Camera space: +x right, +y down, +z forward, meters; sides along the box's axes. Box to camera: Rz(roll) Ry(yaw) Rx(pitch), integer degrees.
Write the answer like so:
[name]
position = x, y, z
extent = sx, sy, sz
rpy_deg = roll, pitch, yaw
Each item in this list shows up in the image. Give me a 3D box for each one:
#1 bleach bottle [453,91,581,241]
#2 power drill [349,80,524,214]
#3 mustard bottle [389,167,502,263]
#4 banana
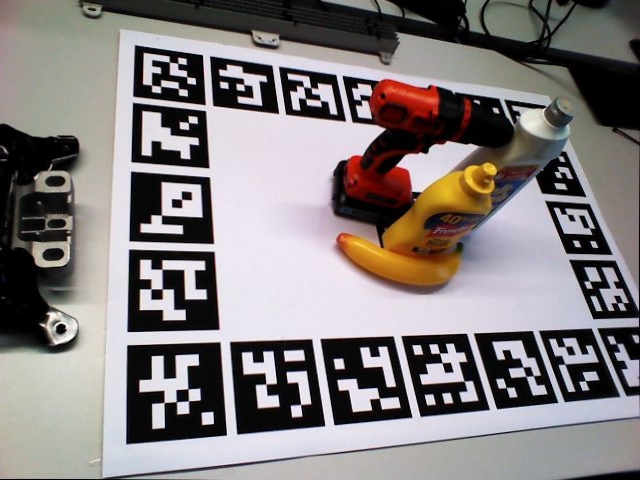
[bleach bottle]
position = 0.238, -0.093, 0.684
extent = 0.102, 0.252, 0.067
rpy_deg = 5, 55, -18
[power drill]
position = 0.131, -0.108, 0.656
extent = 0.184, 0.188, 0.057
rpy_deg = 15, 57, -15
[mustard bottle]
position = 0.170, -0.034, 0.655
extent = 0.096, 0.193, 0.058
rpy_deg = 4, 62, -20
[banana]
position = 0.127, 0.031, 0.706
extent = 0.197, 0.039, 0.074
rpy_deg = 6, 62, -15
